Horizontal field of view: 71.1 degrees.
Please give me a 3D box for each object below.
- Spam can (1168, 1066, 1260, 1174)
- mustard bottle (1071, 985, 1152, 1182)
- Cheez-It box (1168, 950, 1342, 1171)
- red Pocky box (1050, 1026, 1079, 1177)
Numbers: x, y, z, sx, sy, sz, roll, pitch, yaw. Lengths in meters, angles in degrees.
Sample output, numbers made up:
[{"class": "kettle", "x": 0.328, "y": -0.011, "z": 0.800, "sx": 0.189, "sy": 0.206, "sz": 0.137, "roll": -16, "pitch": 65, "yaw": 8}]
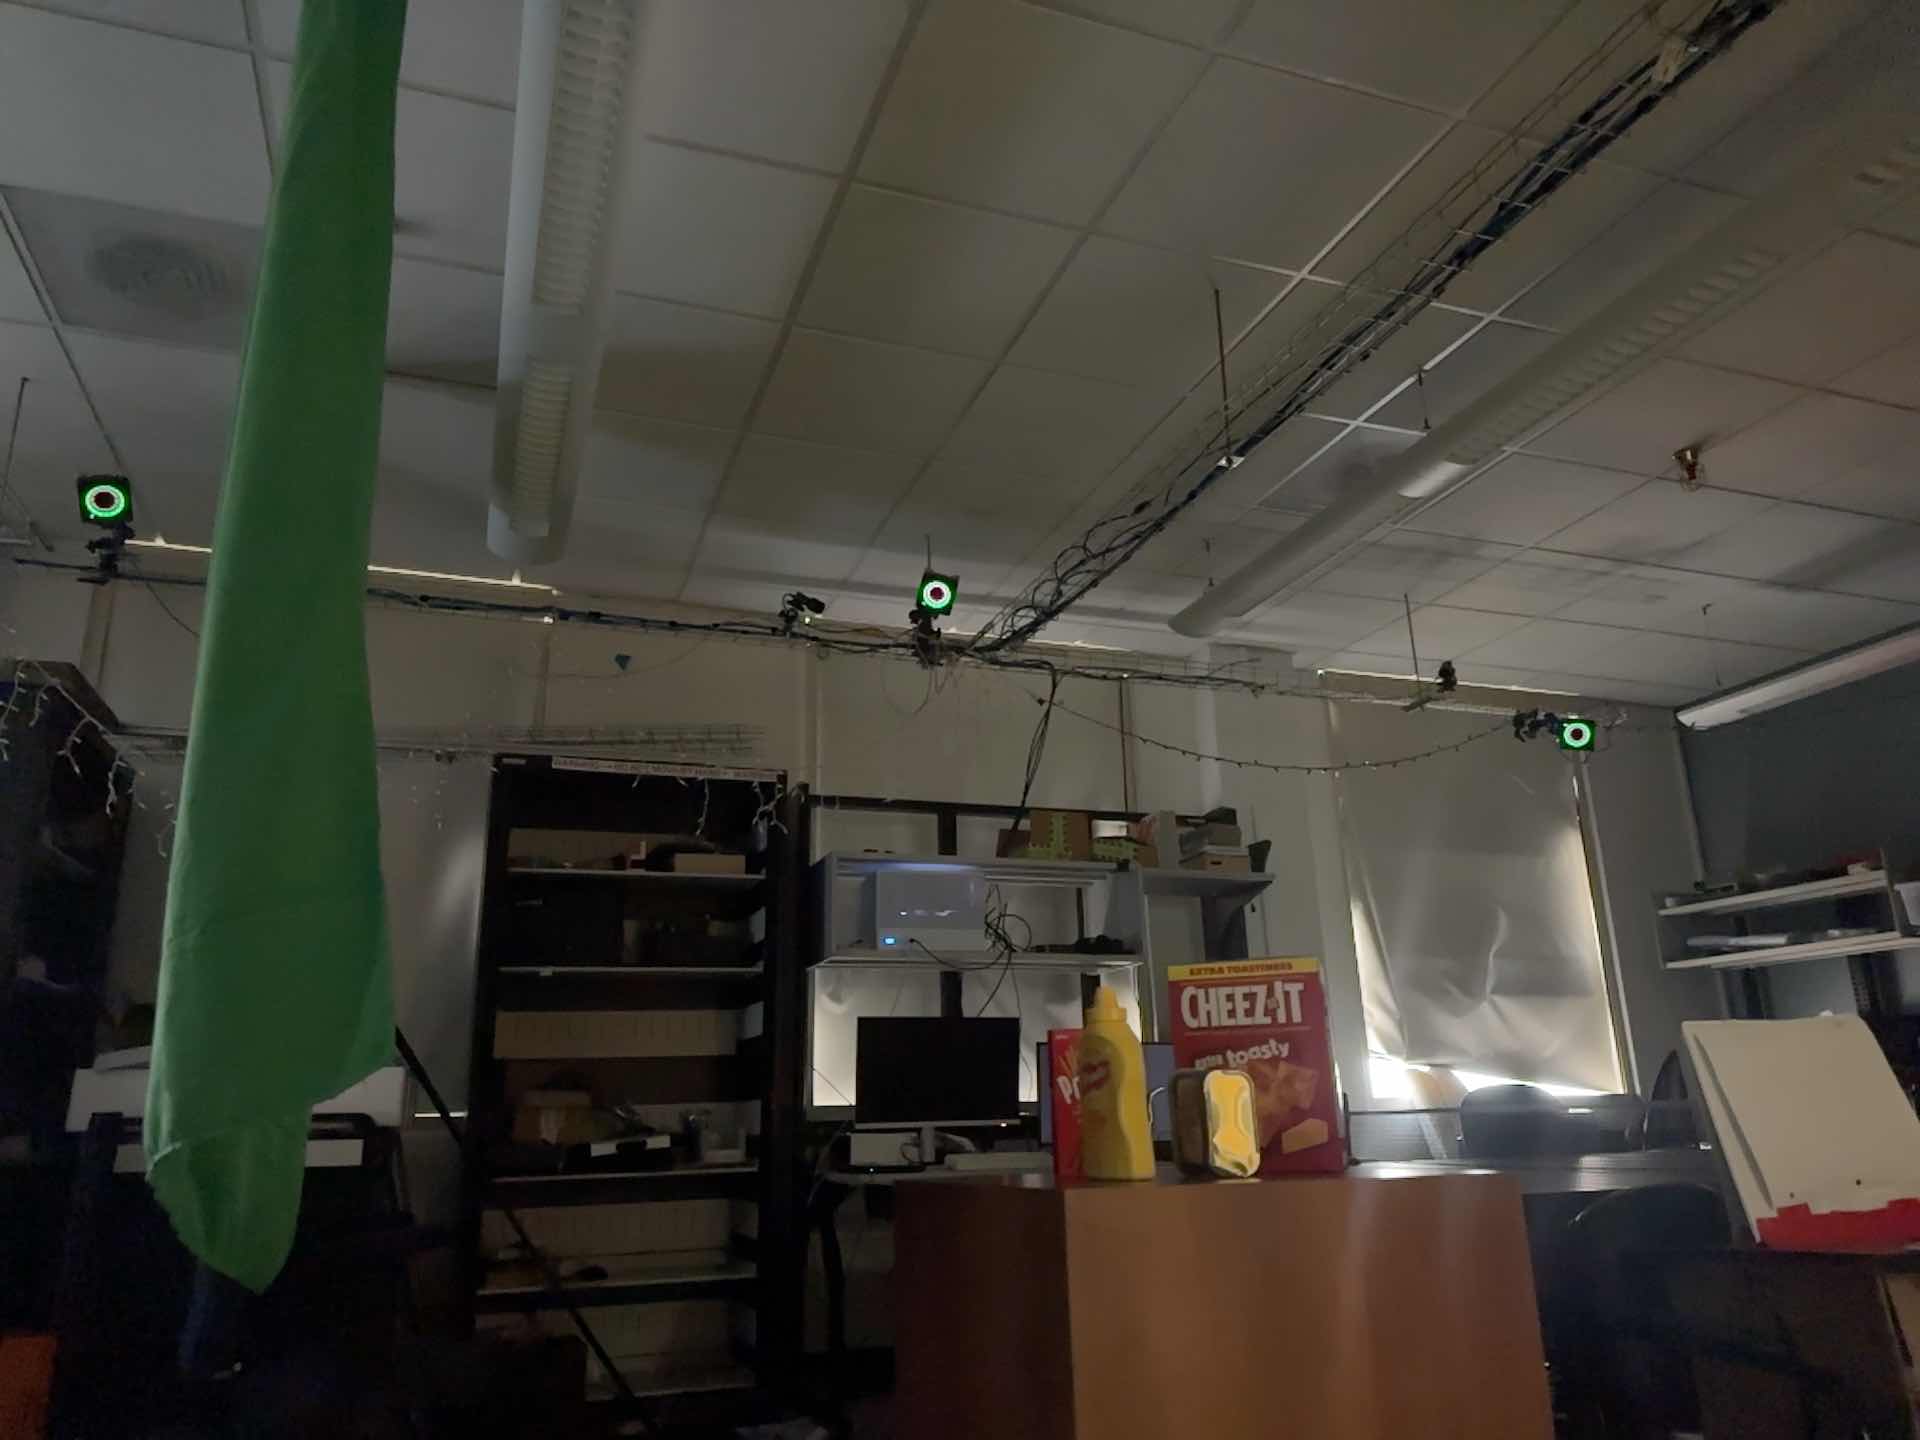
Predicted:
[{"class": "Spam can", "x": 0.248, "y": 0.389, "z": 1.315, "sx": 0.056, "sy": 0.100, "sz": 0.083, "roll": 2, "pitch": -16, "yaw": -14}, {"class": "mustard bottle", "x": 0.143, "y": 0.351, "z": 1.307, "sx": 0.054, "sy": 0.184, "sz": 0.092, "roll": 4, "pitch": -18, "yaw": -21}, {"class": "Cheez-It box", "x": 0.312, "y": 0.363, "z": 1.434, "sx": 0.159, "sy": 0.214, "sz": 0.062, "roll": -4, "pitch": -16, "yaw": 10}, {"class": "red Pocky box", "x": 0.141, "y": 0.405, "z": 1.431, "sx": 0.083, "sy": 0.155, "sz": 0.028, "roll": 0, "pitch": -17, "yaw": -6}]
